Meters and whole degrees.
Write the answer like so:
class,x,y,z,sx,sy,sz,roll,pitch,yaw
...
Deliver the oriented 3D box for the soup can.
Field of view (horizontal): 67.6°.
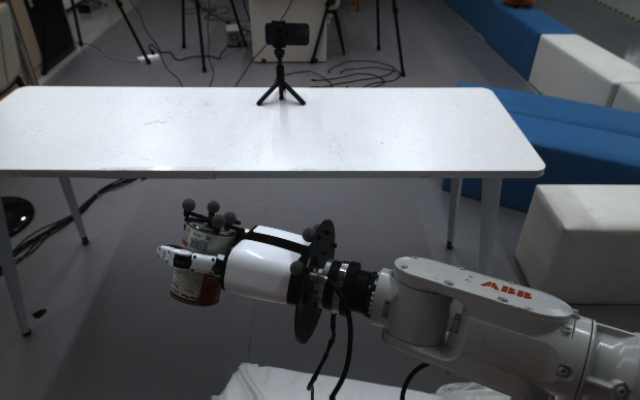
class,x,y,z,sx,sy,sz,roll,pitch,yaw
soup can,-0.154,0.082,0.644,0.067,0.101,0.067,15,7,-2
